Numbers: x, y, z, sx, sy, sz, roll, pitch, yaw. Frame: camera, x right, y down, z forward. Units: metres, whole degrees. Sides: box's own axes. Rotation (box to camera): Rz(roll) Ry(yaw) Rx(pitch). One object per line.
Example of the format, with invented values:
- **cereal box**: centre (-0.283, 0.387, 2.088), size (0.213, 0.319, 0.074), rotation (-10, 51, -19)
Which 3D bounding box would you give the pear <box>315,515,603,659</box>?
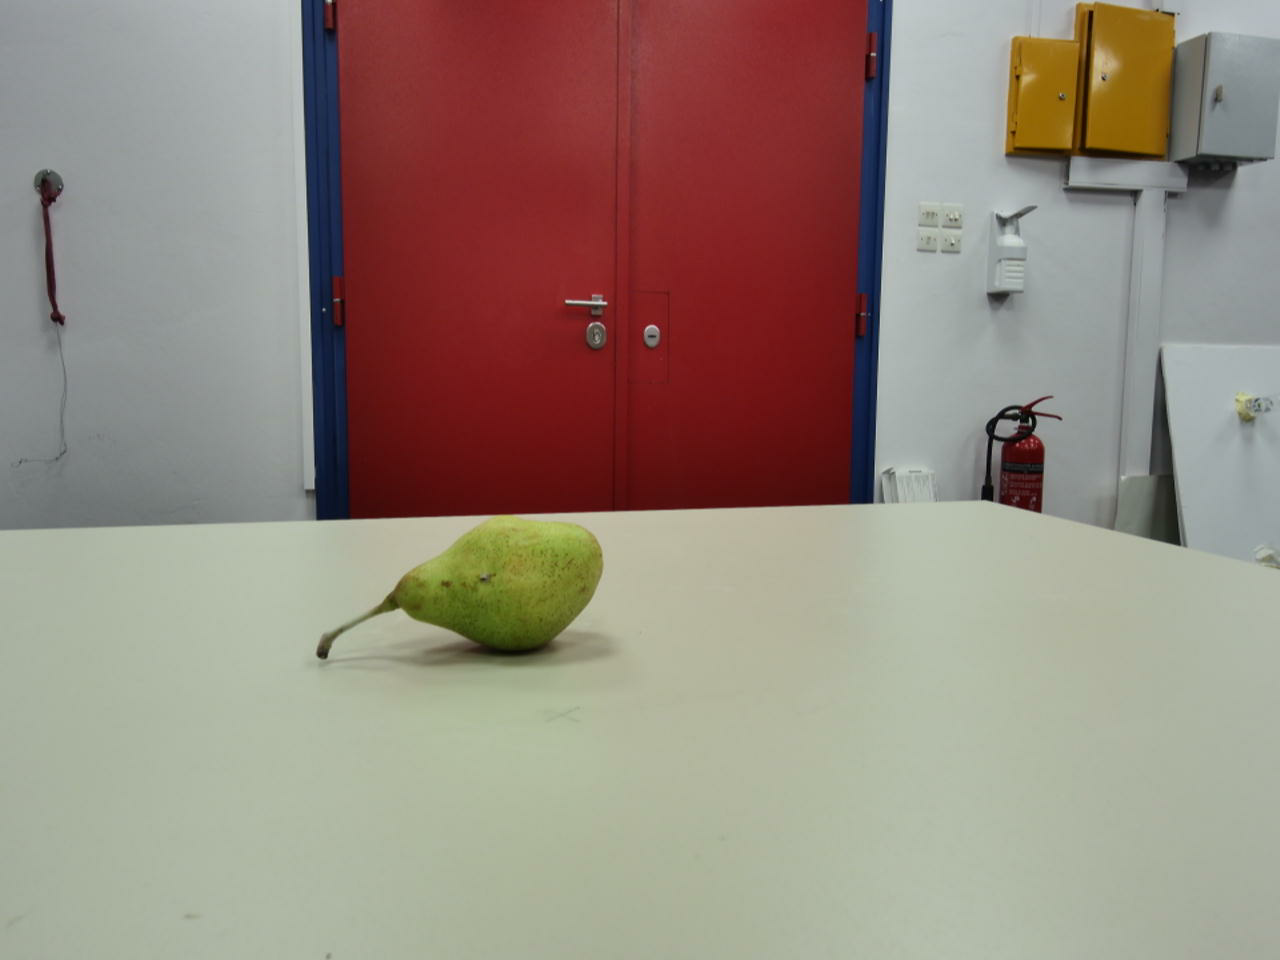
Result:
- **pear**: centre (-0.071, 0.043, 0.416), size (0.111, 0.056, 0.056), rotation (0, 4, 2)
